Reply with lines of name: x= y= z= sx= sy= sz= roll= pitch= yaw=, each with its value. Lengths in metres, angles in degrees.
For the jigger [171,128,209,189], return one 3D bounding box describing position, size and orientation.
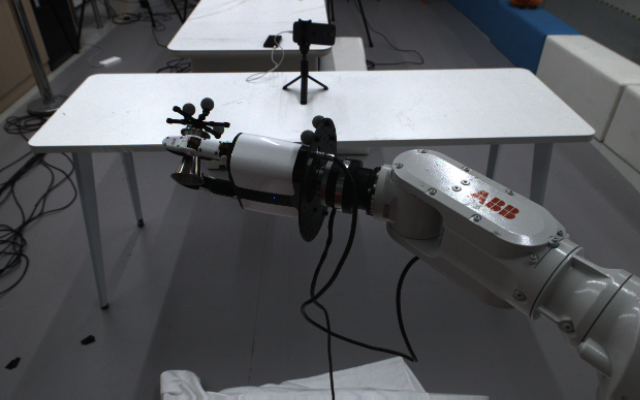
jigger: x=-0.175 y=-0.059 z=0.658 sx=0.043 sy=0.043 sz=0.071 roll=4 pitch=71 yaw=3
